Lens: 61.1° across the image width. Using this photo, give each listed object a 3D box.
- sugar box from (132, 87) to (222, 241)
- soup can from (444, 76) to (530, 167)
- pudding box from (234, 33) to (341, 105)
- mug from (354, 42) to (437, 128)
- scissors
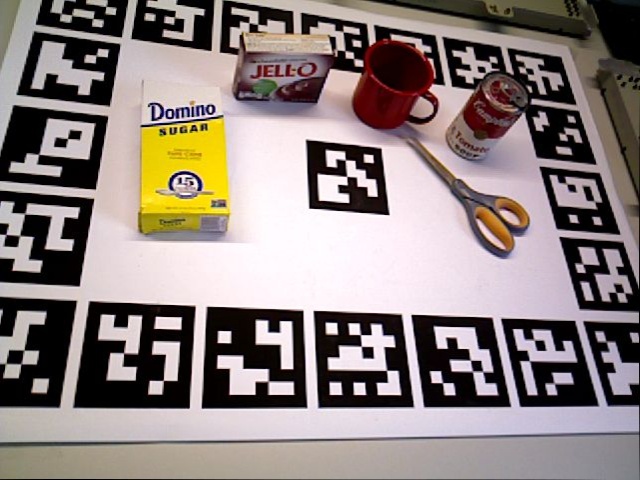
[{"bbox_3d":[-0.158,-0.086,0.603,0.092,0.046,0.175,0,67,-13],"label":"sugar box"},{"bbox_3d":[0.213,-0.151,0.706,0.067,0.104,0.067,6,62,-12],"label":"soup can"},{"bbox_3d":[-0.042,-0.206,0.657,0.112,0.092,0.038,-5,72,-18],"label":"pudding box"},{"bbox_3d":[0.099,-0.193,0.698,0.091,0.083,0.117,-33,76,-24],"label":"mug"},{"bbox_3d":[0.188,-0.051,0.691,0.086,0.016,0.202,-41,82,-17],"label":"scissors"}]
